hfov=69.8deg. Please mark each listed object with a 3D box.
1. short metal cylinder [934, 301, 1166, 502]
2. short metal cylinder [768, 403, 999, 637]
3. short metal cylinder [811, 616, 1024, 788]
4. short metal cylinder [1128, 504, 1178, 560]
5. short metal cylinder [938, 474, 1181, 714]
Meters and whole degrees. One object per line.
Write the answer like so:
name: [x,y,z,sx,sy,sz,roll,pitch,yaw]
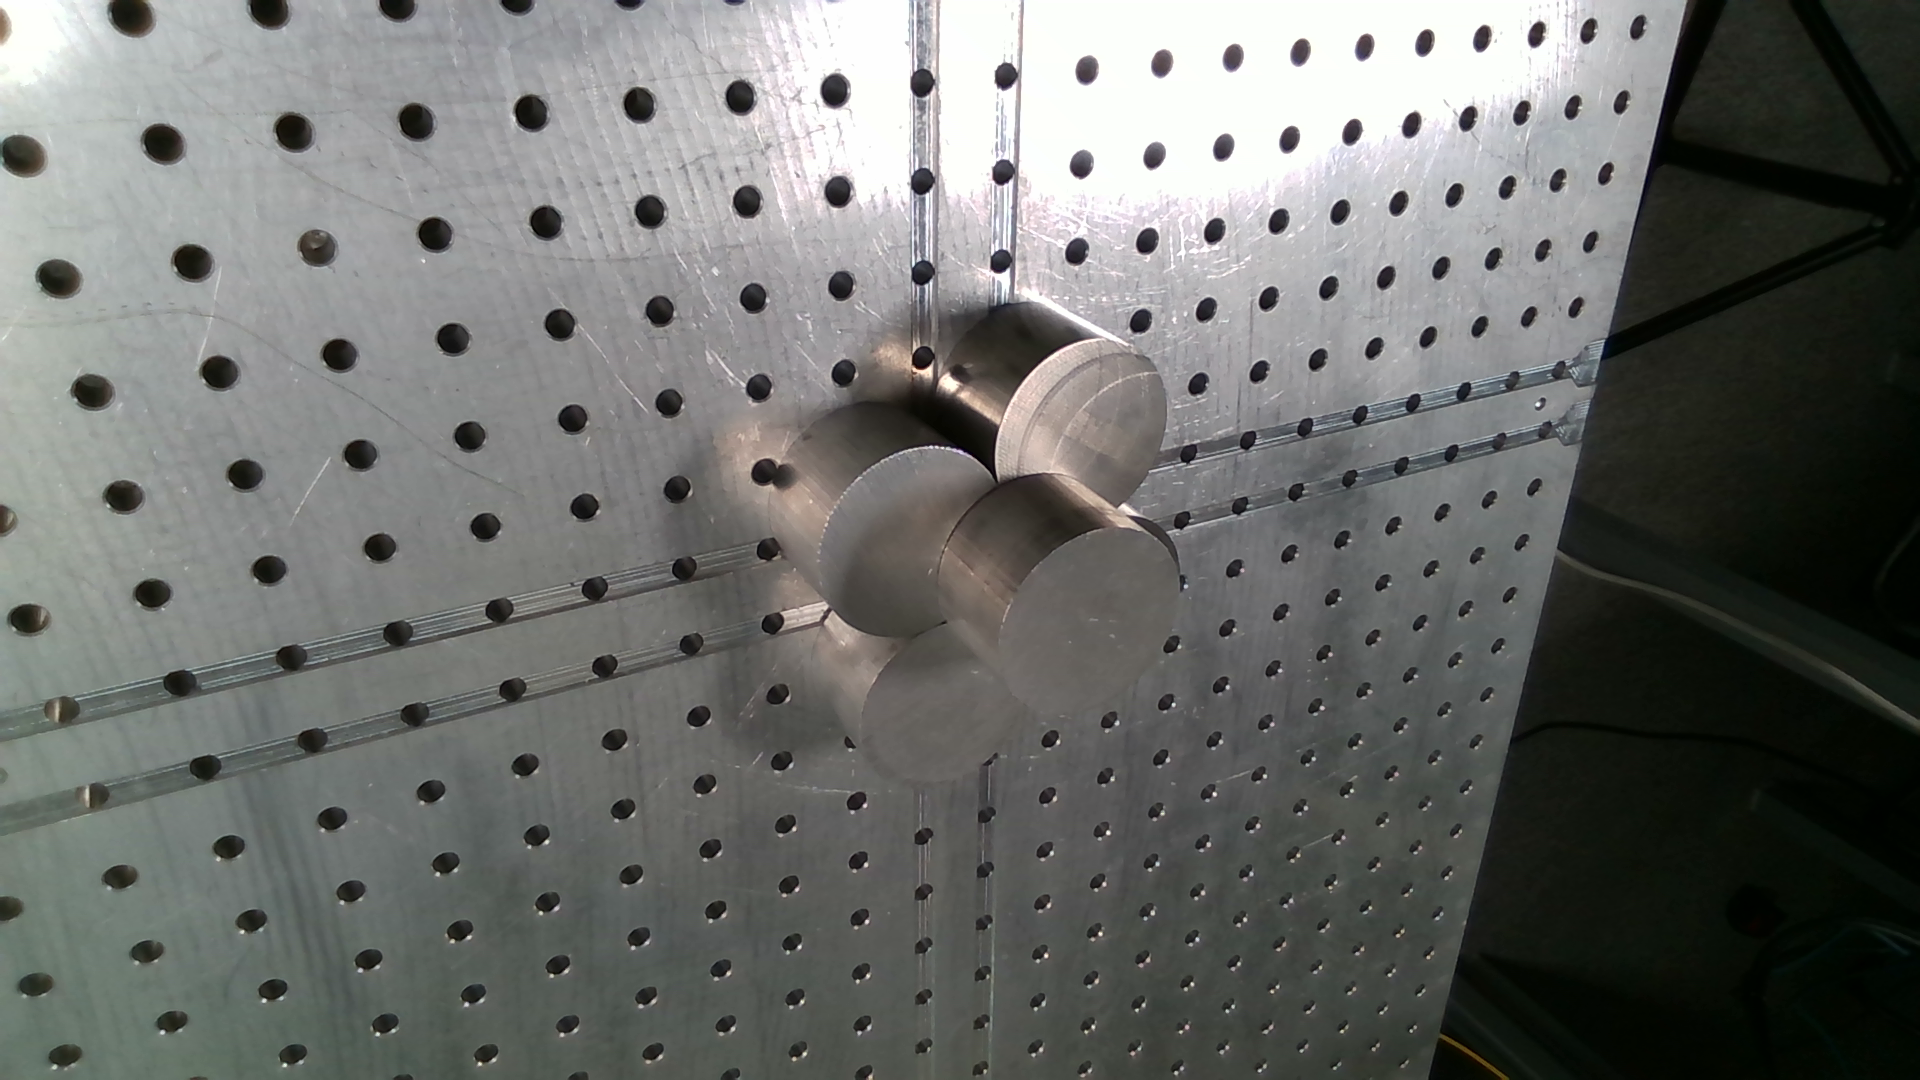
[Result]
short metal cylinder: [0.036,-0.052,0.561,0.080,0.050,0.080,-14,122,-25]
short metal cylinder: [-0.029,-0.009,0.544,0.080,0.050,0.080,-14,122,-25]
short metal cylinder: [-0.017,0.058,0.587,0.080,0.050,0.080,-14,122,-25]
short metal cylinder: [0.049,0.015,0.605,0.080,0.050,0.080,-14,122,-25]
short metal cylinder: [0.038,0.020,0.535,0.080,0.050,0.080,-14,122,-23]
